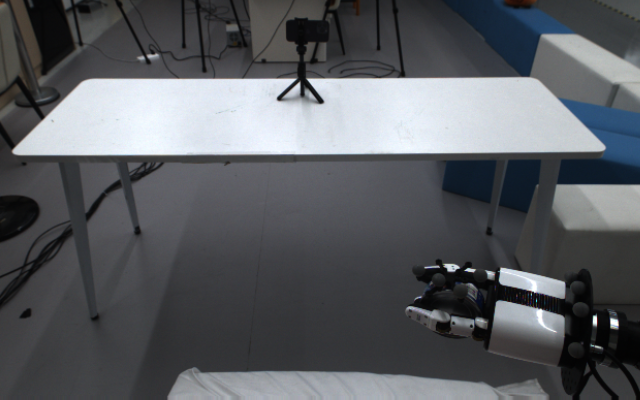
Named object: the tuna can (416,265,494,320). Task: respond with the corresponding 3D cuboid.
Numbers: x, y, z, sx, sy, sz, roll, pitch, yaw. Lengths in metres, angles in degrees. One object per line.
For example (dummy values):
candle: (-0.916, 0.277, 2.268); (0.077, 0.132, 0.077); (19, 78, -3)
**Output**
tuna can: (0.184, 0.145, 0.663); (0.085, 0.085, 0.034); (15, 35, 18)
